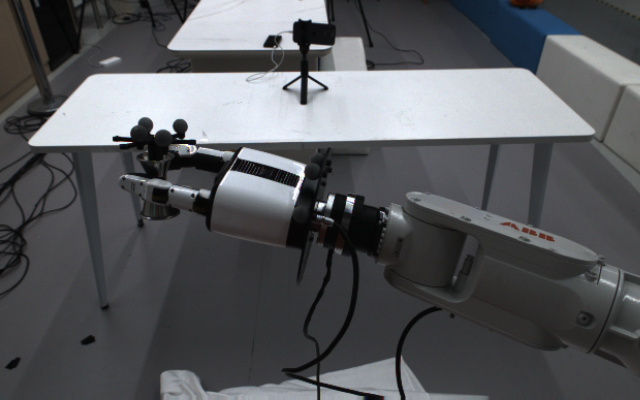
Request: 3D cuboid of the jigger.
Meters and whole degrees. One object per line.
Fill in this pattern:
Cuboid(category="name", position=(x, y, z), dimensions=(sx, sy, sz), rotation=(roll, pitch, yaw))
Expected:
Cuboid(category="jigger", position=(-0.182, -0.017, 0.549), dimensions=(0.043, 0.071, 0.043), rotation=(2, 20, -1))
